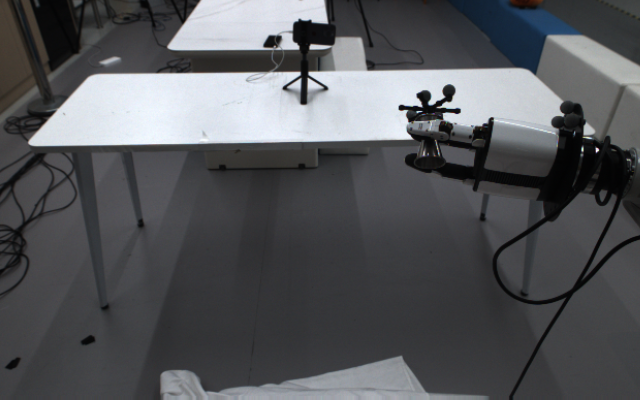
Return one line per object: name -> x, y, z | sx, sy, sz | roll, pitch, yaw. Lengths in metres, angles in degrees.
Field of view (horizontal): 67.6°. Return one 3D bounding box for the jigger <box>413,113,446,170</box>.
jigger -> 0.155, -0.085, 0.690 | 0.043, 0.043, 0.071 | 3, 72, 1
